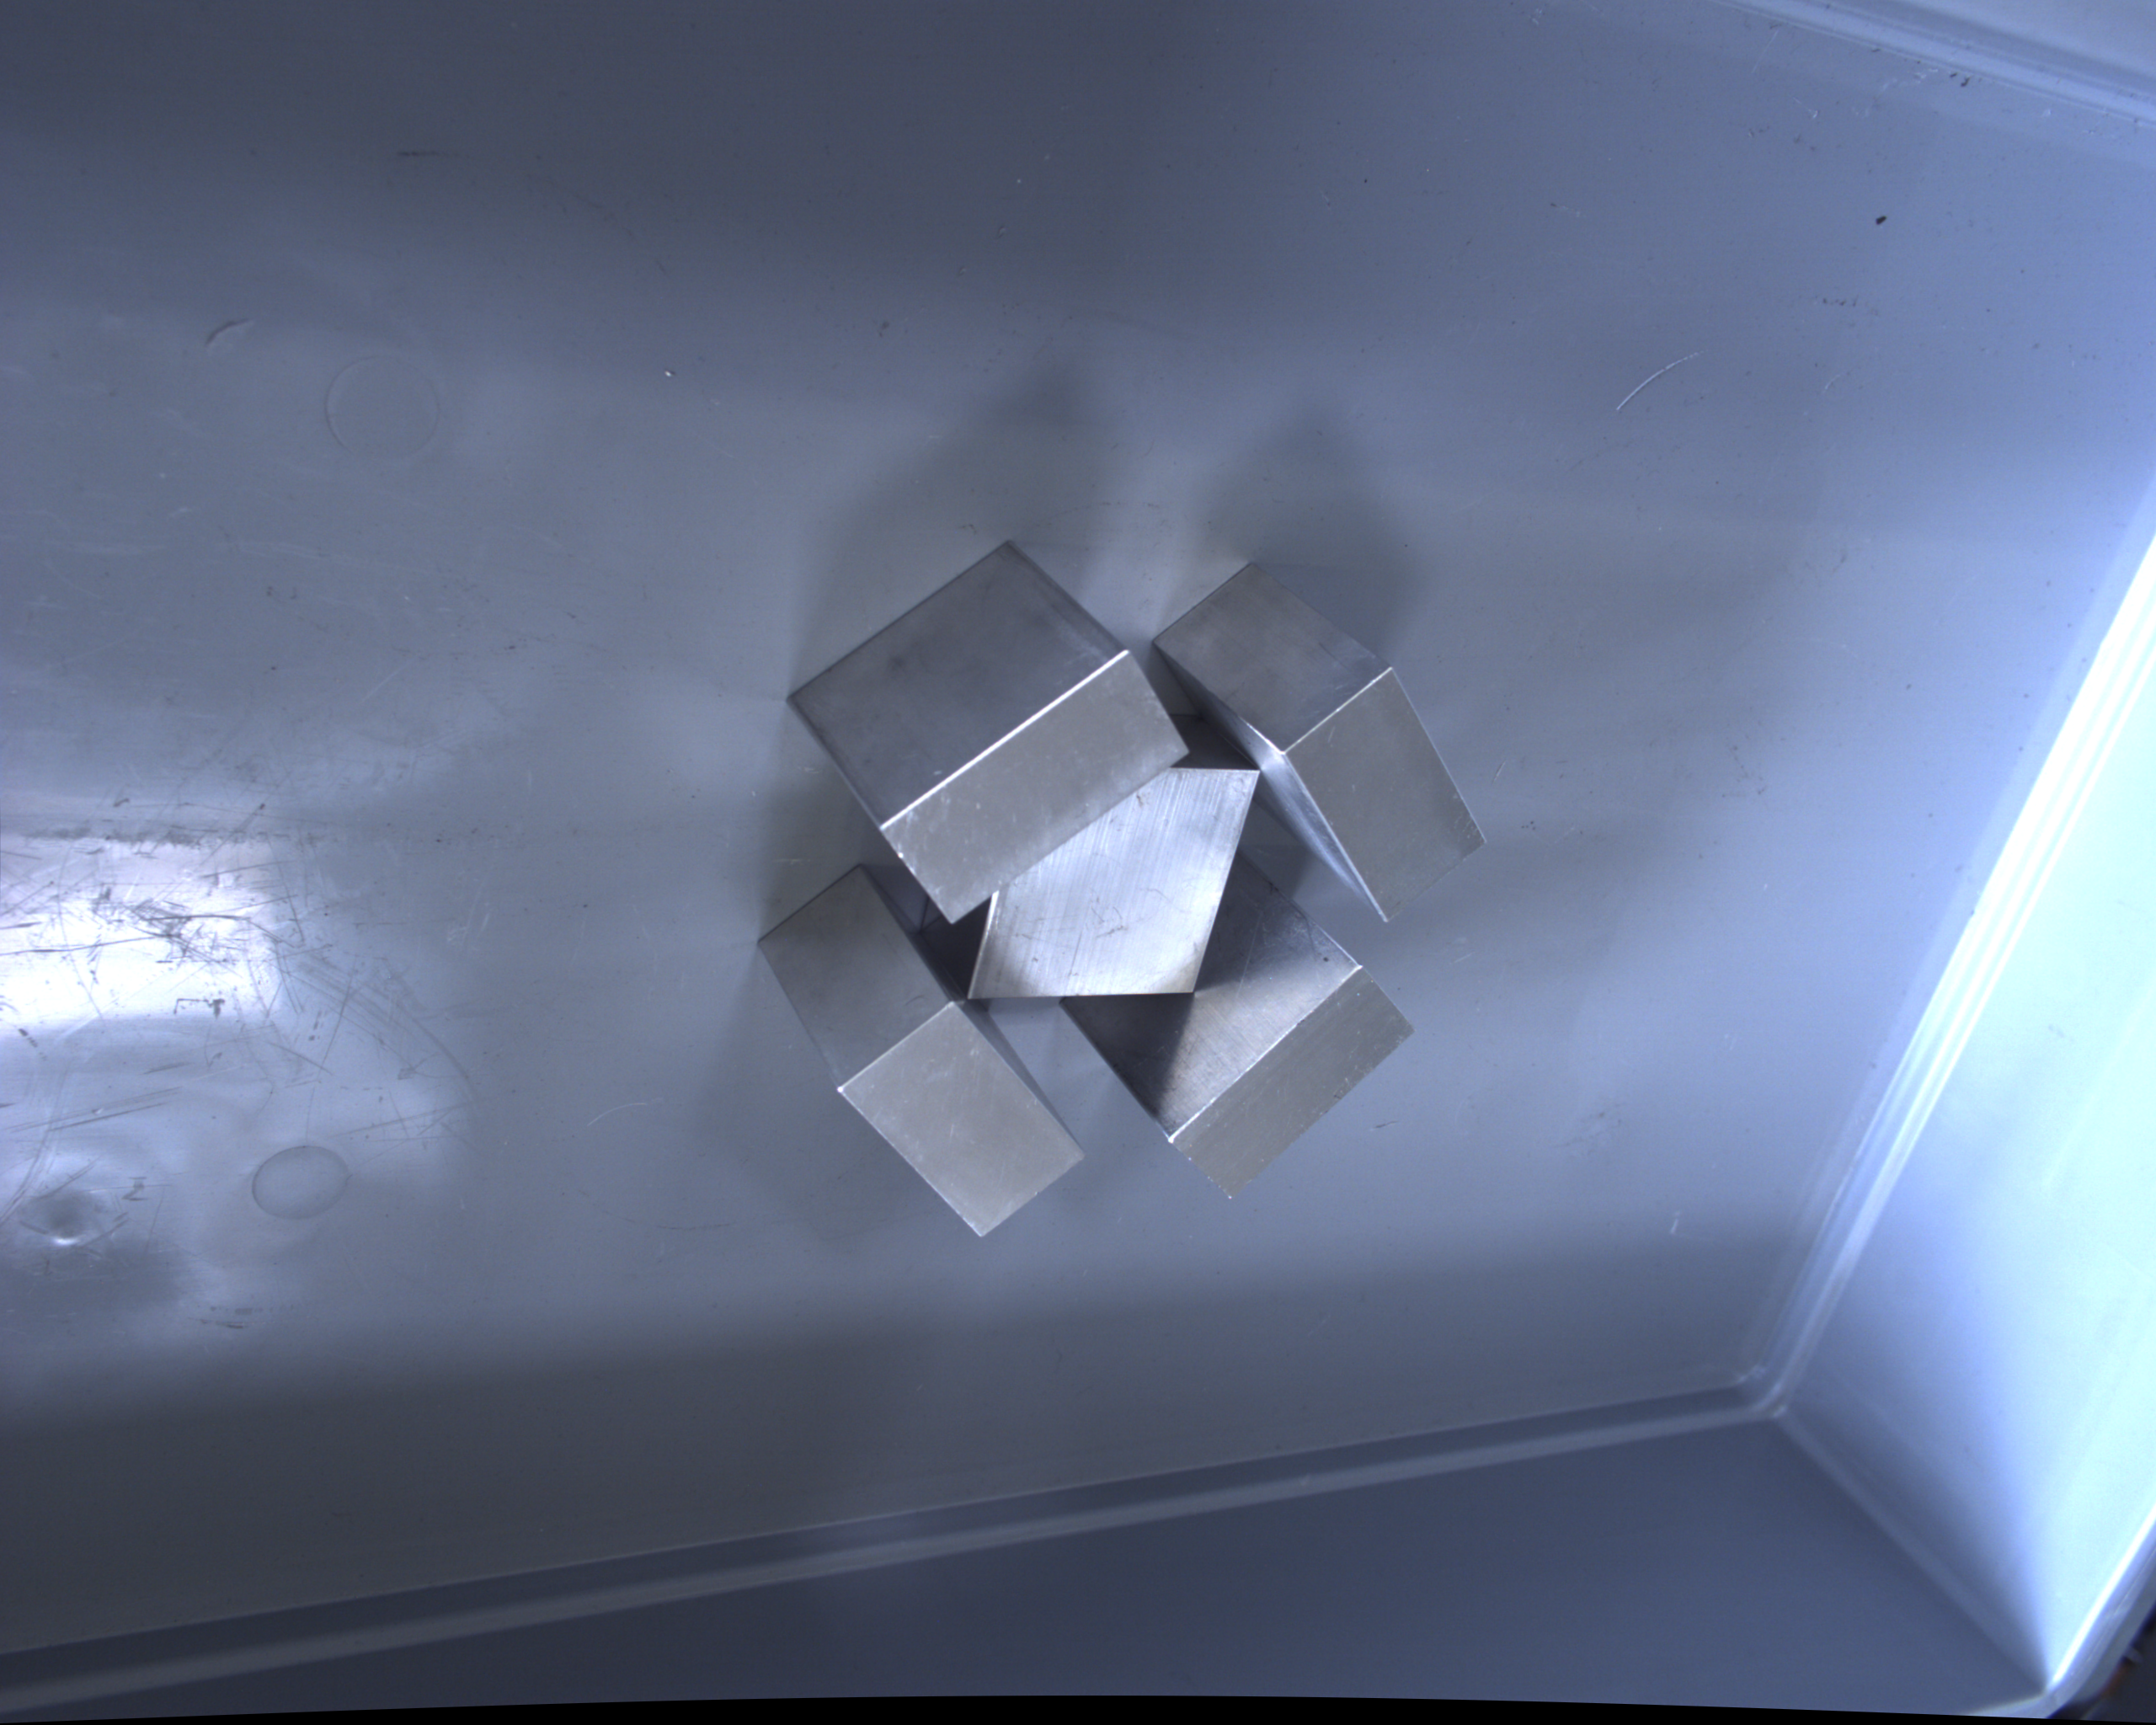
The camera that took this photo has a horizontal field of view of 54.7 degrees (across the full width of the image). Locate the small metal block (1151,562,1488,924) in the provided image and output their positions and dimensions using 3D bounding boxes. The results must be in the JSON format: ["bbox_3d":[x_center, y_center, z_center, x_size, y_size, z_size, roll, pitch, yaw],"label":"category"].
[{"bbox_3d":[0.046,-0.023,0.400,0.025,0.050,0.050,-39,130,-3],"label":"small metal block"}]

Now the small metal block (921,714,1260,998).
[{"bbox_3d":[0.002,-0.002,0.406,0.050,0.025,0.050,1,118,-29],"label":"small metal block"}]

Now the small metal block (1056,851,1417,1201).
[{"bbox_3d":[0.031,0.032,0.426,0.050,0.050,0.025,-43,130,0],"label":"small metal block"}]

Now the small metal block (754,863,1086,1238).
[{"bbox_3d":[-0.030,0.035,0.395,0.025,0.050,0.050,-38,129,-2],"label":"small metal block"}]

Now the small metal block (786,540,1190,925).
[{"bbox_3d":[-0.017,-0.024,0.366,0.050,0.050,0.025,-36,128,-4],"label":"small metal block"}]
